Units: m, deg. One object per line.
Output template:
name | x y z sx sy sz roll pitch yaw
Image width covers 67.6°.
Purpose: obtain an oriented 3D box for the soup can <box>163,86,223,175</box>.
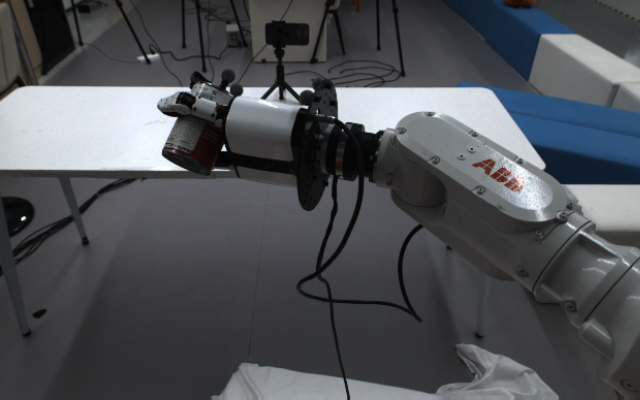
soup can | -0.152 -0.091 0.623 0.067 0.067 0.101 16 75 19
